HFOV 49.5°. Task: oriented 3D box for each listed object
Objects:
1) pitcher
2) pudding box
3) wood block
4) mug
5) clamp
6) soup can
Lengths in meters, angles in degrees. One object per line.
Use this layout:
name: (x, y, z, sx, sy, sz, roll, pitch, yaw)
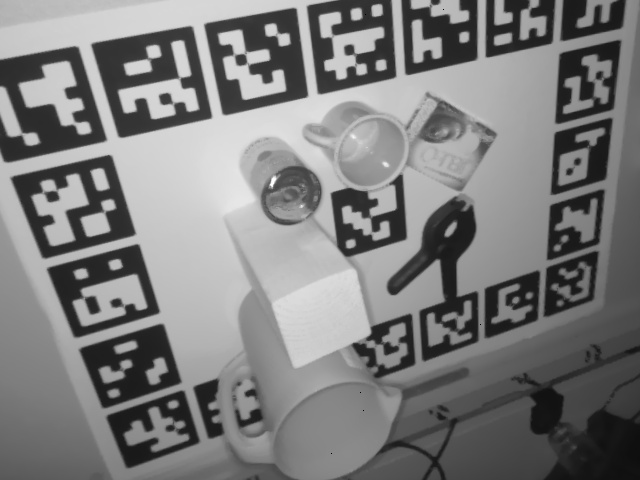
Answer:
pitcher: (-0.016, 0.165, 0.795, 0.191, 0.242, 0.132, -17, 123, -15)
pudding box: (0.192, -0.108, 0.858, 0.115, 0.038, 0.089, 21, 104, -30)
wood block: (-0.012, 0.048, 0.754, 0.090, 0.206, 0.090, -16, 121, -8)
mug: (0.060, -0.102, 0.780, 0.118, 0.081, 0.092, 20, 110, -29)
clamp: (0.189, 0.033, 0.936, 0.123, 0.036, 0.163, 15, 109, -20)
soup can: (-0.022, -0.056, 0.758, 0.068, 0.102, 0.067, -8, 117, -16)
